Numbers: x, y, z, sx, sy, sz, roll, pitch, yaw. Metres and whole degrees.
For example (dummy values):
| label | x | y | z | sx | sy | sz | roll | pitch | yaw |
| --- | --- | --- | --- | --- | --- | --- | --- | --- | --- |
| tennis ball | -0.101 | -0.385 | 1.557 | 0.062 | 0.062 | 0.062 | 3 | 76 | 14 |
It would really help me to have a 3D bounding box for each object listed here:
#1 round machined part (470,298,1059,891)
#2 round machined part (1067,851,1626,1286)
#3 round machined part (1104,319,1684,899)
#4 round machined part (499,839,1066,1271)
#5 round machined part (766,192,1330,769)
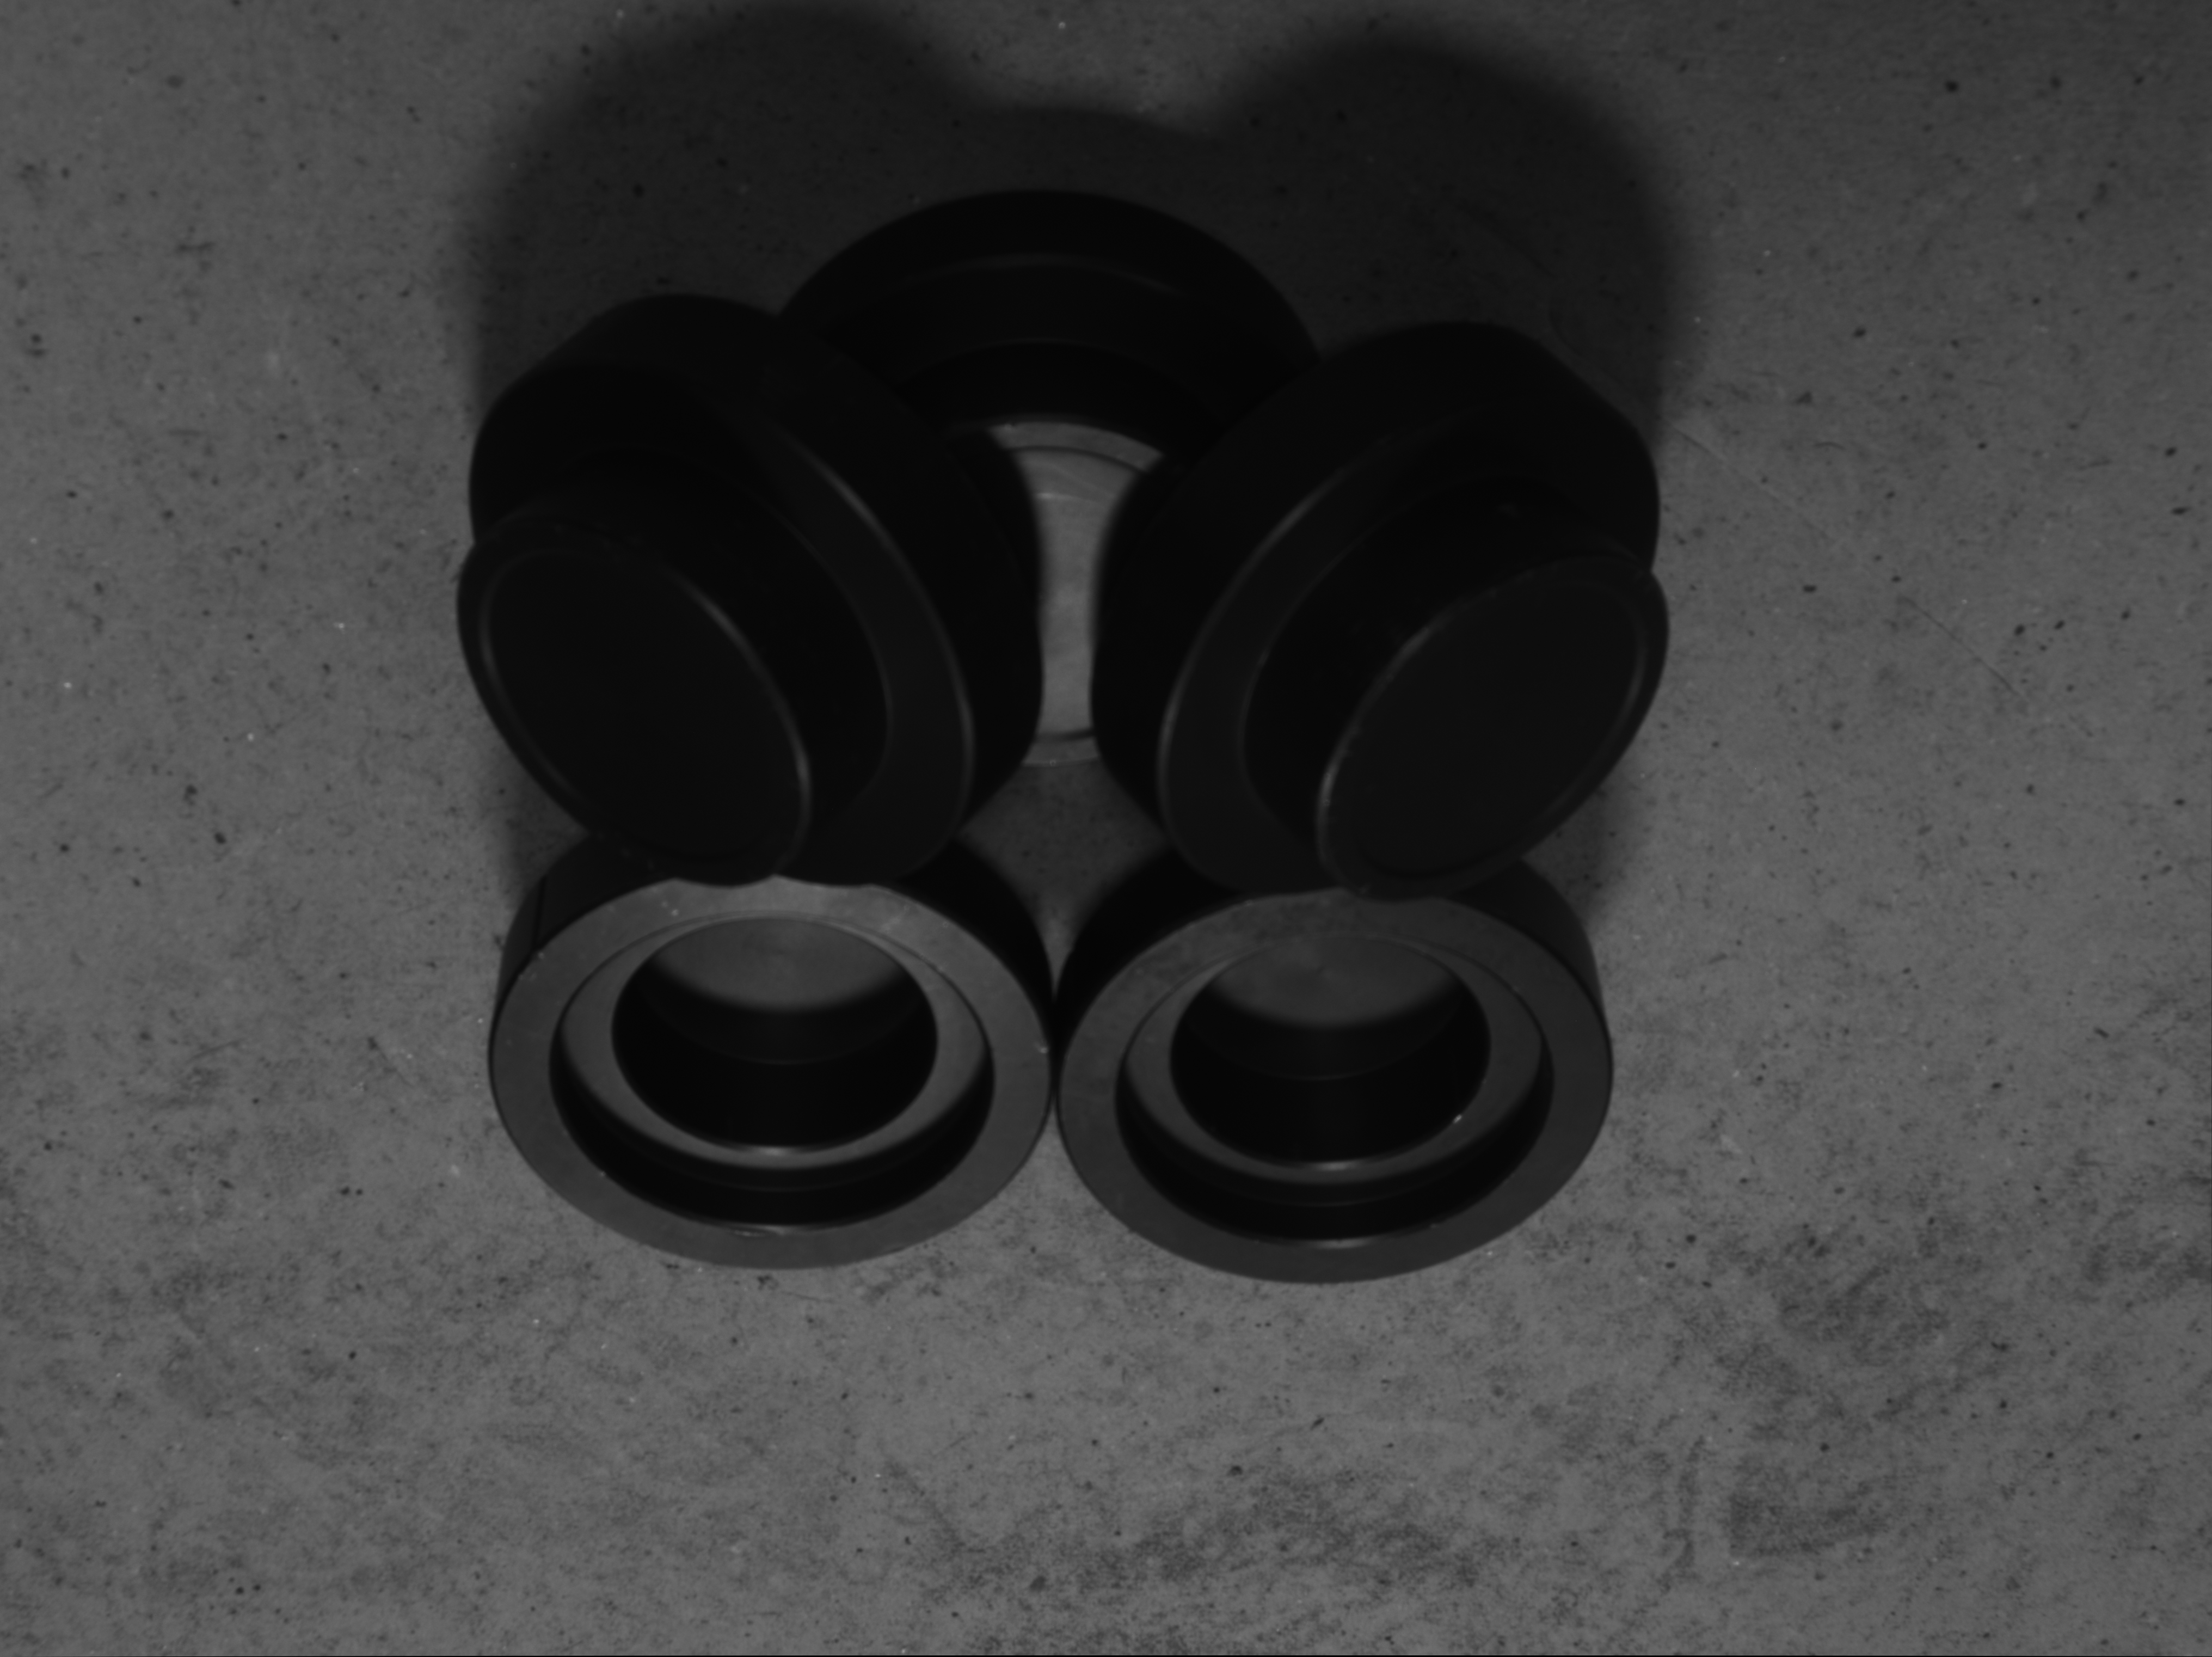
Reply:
| label | x | y | z | sx | sy | sz | roll | pitch | yaw |
| --- | --- | --- | --- | --- | --- | --- | --- | --- | --- |
| round machined part | -0.059 | -0.029 | 0.570 | 0.098 | 0.042 | 0.098 | 23 | 138 | 23 |
| round machined part | 0.042 | 0.034 | 0.657 | 0.098 | 0.042 | 0.098 | -1 | 130 | -1 |
| round machined part | 0.052 | -0.028 | 0.577 | 0.098 | 0.042 | 0.098 | -25 | 142 | -21 |
| round machined part | -0.056 | 0.030 | 0.651 | 0.098 | 0.042 | 0.098 | -1 | 130 | -1 |
| round machined part | -0.009 | -0.049 | 0.586 | 0.098 | 0.042 | 0.098 | -1 | 130 | -1 |
